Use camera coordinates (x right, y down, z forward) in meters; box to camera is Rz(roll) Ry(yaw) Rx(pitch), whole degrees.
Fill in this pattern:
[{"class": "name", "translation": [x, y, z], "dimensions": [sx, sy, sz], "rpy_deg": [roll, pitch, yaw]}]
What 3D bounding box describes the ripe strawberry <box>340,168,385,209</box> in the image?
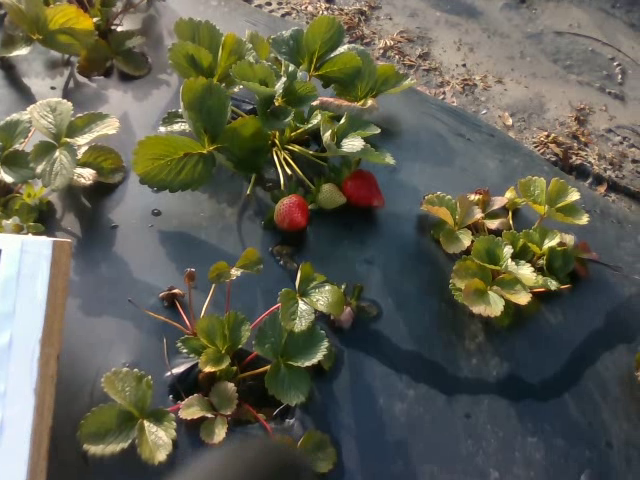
[{"class": "ripe strawberry", "translation": [0.054, -0.057, 0.699], "dimensions": [0.049, 0.065, 0.050], "rpy_deg": [-45, -17, 11]}]
